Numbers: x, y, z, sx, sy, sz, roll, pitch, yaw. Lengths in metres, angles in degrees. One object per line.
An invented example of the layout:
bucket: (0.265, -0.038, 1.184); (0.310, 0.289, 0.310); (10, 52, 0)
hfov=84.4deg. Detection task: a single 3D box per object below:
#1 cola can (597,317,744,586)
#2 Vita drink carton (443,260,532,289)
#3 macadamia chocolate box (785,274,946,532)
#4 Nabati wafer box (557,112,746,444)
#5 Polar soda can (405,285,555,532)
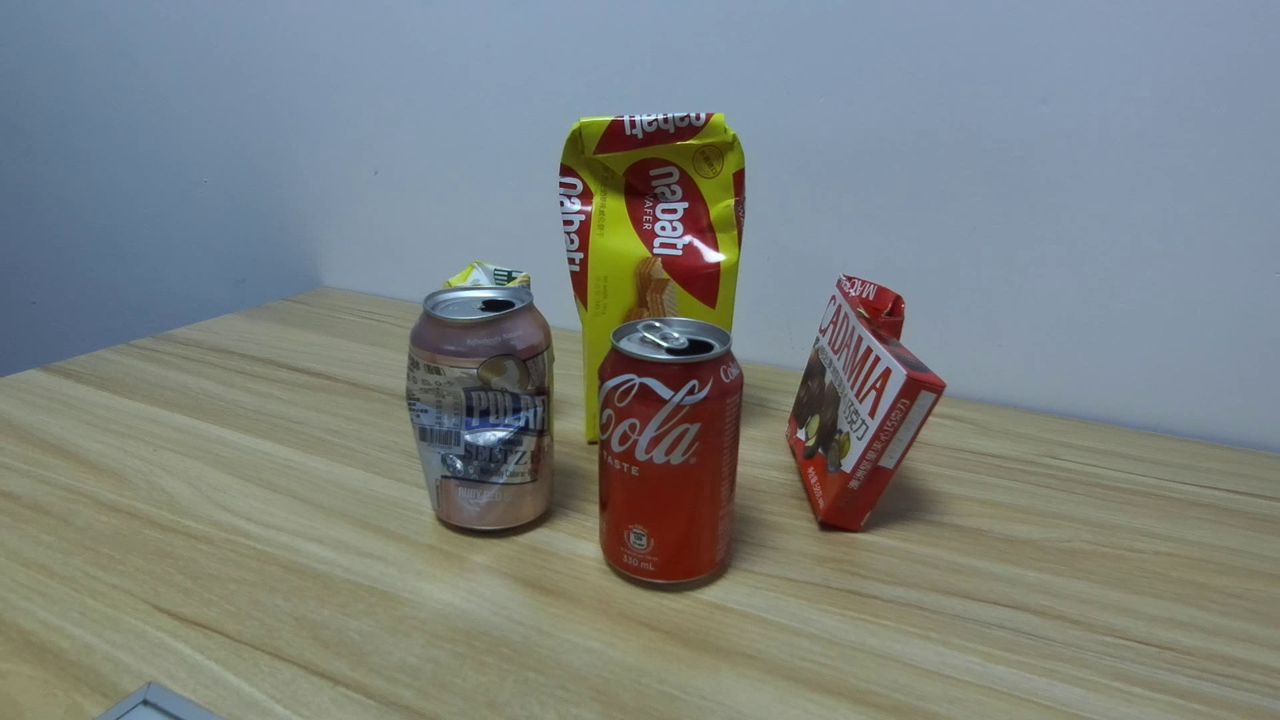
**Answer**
cola can: (0.014, 0.041, 0.351); (0.068, 0.120, 0.068); (0, 26, 0)
Vita drink carton: (-0.108, -0.006, 0.476); (0.071, 0.109, 0.047); (19, 27, 39)
macadamia chocolate box: (0.124, 0.020, 0.406); (0.056, 0.112, 0.126); (4, 21, 4)
Nabati wafer box: (0.009, -0.046, 0.445); (0.113, 0.205, 0.042); (-2, 19, -3)
Polar soda can: (-0.079, 0.027, 0.370); (0.074, 0.122, 0.067); (20, 29, 40)
